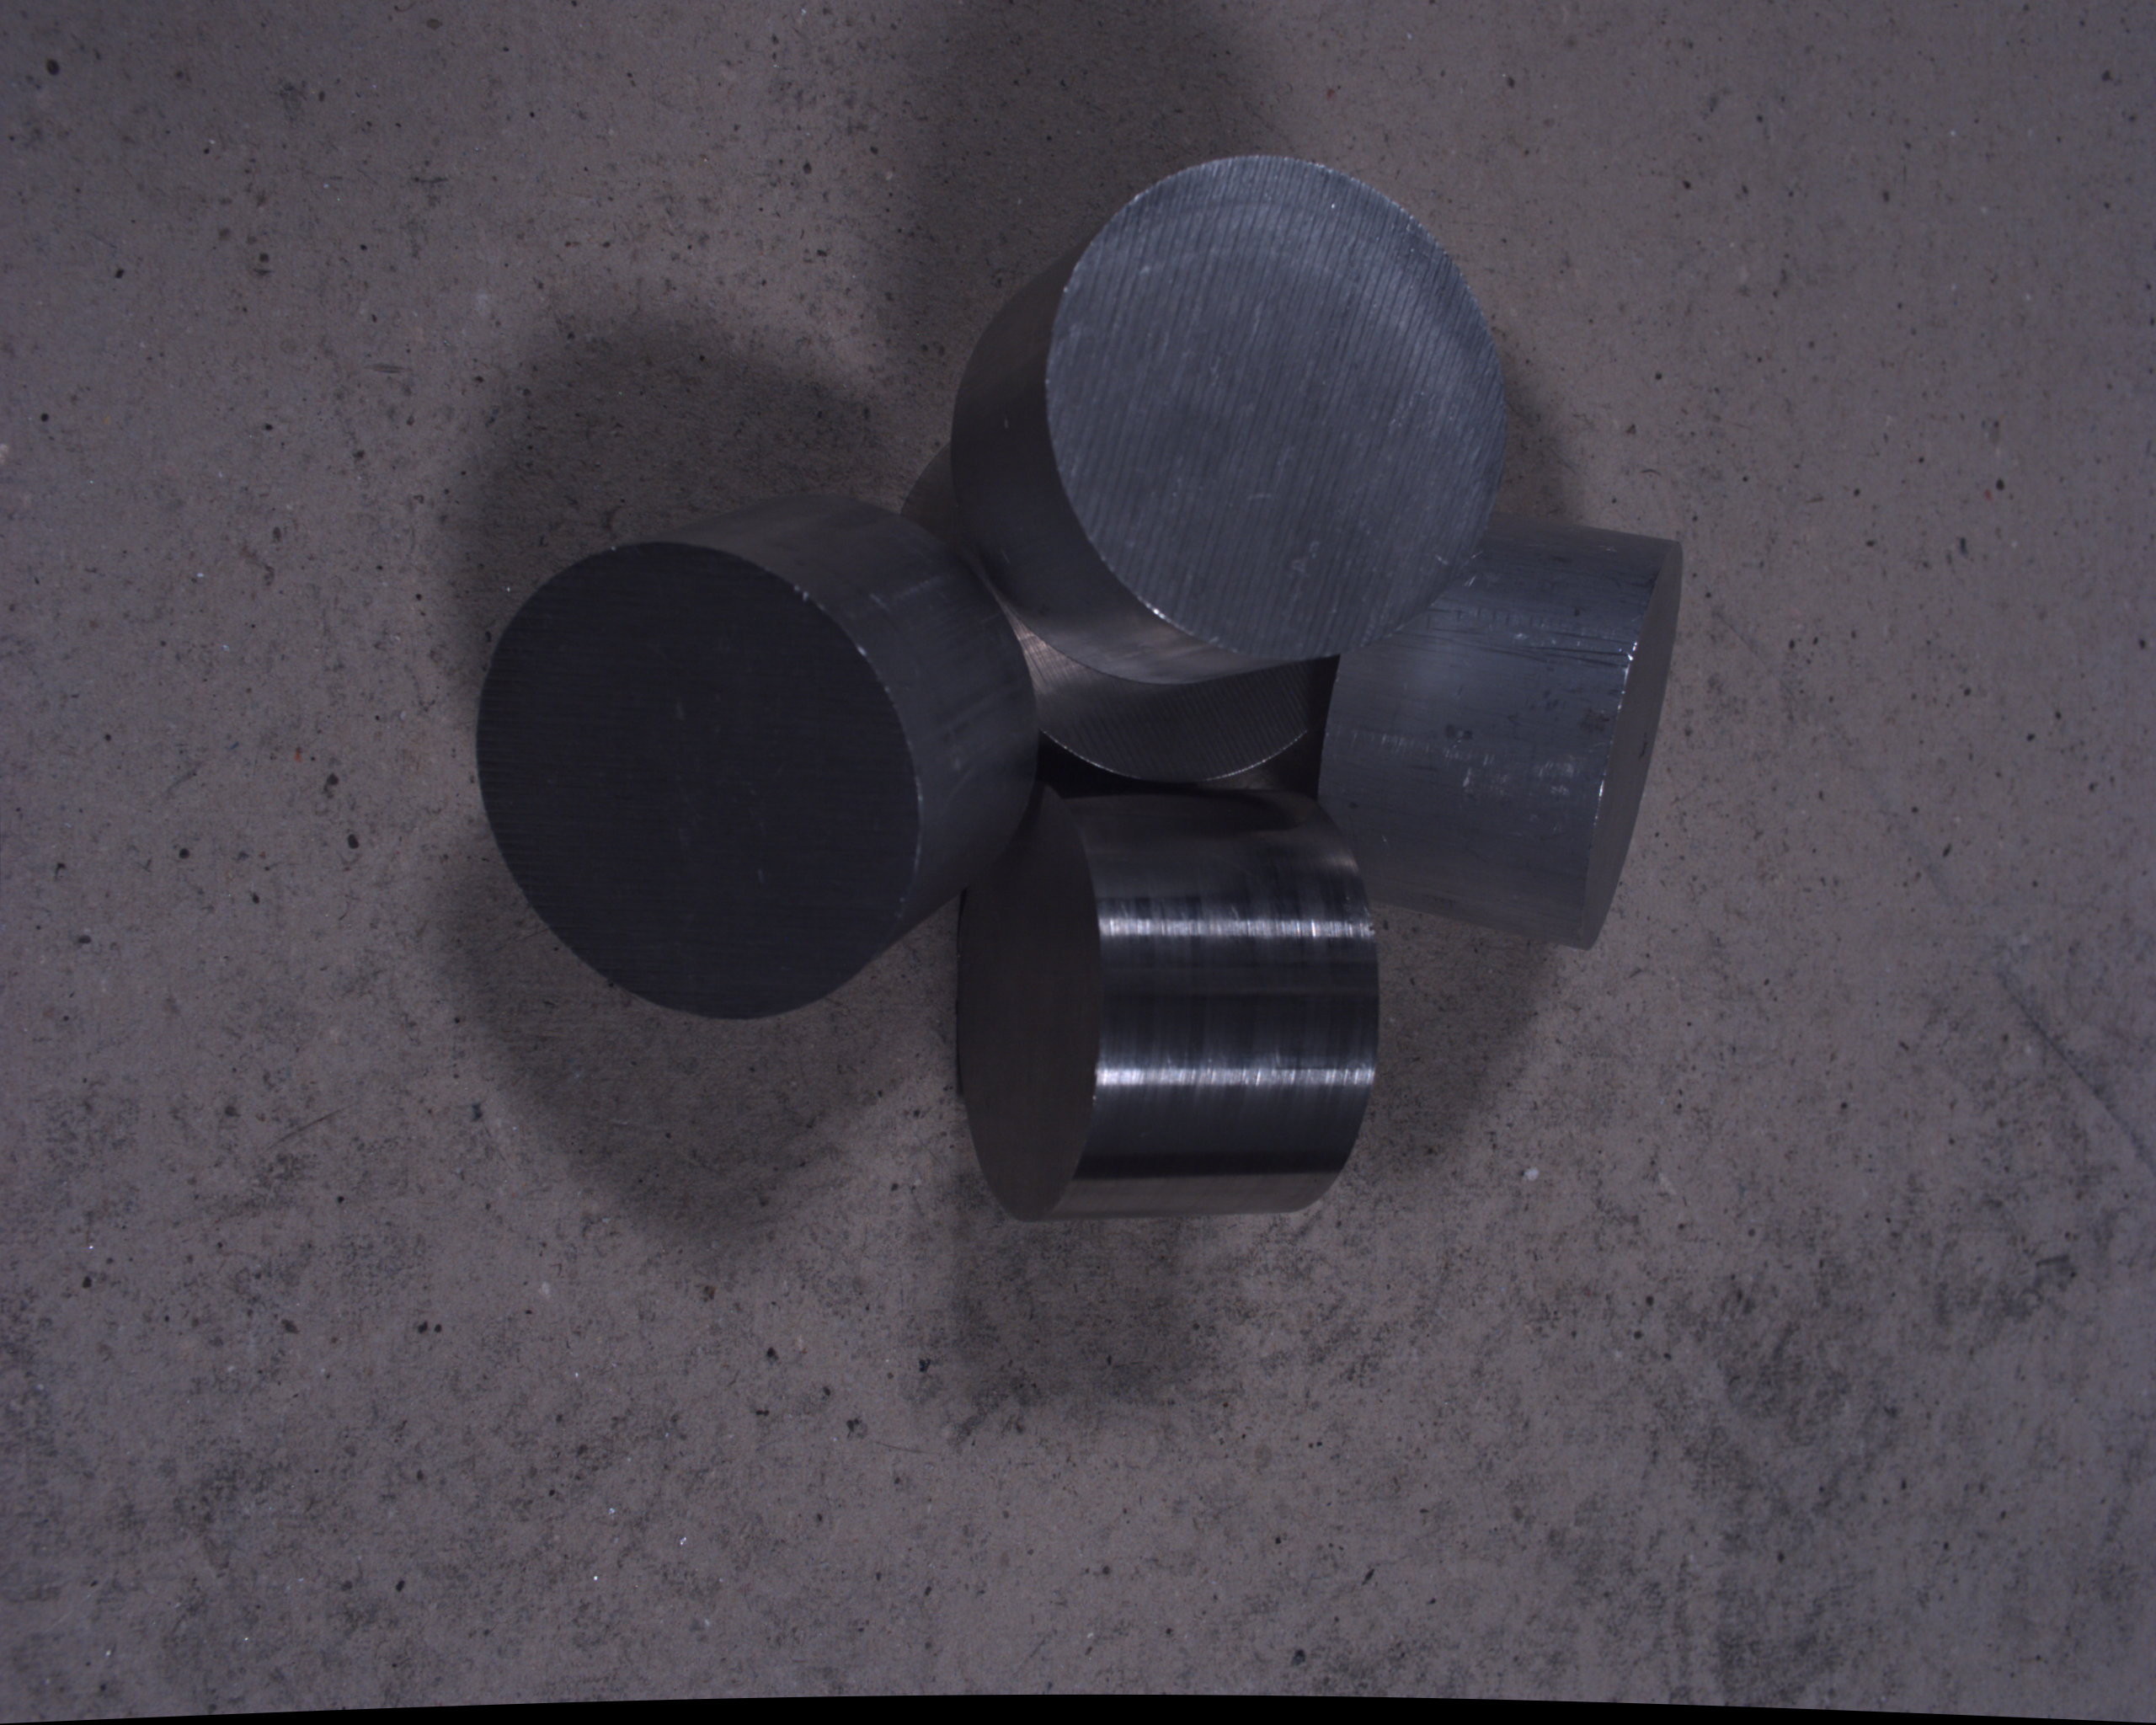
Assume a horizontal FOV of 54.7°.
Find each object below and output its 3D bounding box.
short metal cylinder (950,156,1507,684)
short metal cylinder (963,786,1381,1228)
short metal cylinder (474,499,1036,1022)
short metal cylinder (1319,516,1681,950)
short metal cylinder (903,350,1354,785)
[{"bbox_3d":[0.024,-0.072,0.353,0.081,0.050,0.079,0,90,-21],"label":"short metal cylinder"},{"bbox_3d":[0.015,0.027,0.386,0.050,0.080,0.079,2,90,-20],"label":"short metal cylinder"},{"bbox_3d":[-0.054,-0.019,0.356,0.080,0.050,0.079,6,110,19],"label":"short metal cylinder"},{"bbox_3d":[0.083,-0.027,0.407,0.050,0.080,0.080,13,85,19],"label":"short metal cylinder"},{"bbox_3d":[0.009,-0.054,0.401,0.081,0.050,0.079,0,90,-21],"label":"short metal cylinder"}]
